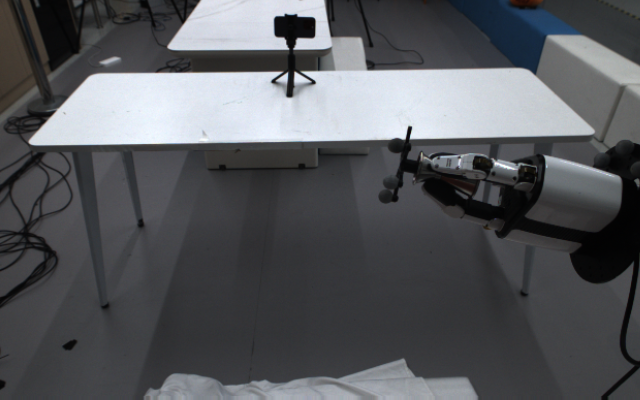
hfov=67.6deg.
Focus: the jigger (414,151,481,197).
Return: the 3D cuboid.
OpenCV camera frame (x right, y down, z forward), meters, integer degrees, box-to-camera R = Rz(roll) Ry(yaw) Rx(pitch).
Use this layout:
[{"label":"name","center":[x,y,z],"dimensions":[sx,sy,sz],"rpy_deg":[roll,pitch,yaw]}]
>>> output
[{"label":"jigger","center":[0.151,-0.033,0.553],"dimensions":[0.071,0.043,0.043],"rpy_deg":[13,36,3]}]
